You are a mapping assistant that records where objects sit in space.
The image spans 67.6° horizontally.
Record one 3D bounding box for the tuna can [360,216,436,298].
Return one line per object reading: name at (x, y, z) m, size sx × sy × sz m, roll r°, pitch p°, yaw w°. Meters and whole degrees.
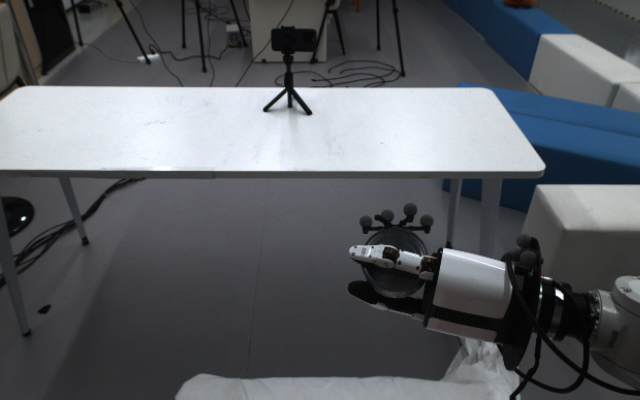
tuna can at (0.096, 0.078, 0.614) m, size 0.085 × 0.034 × 0.085 m, roll -6°, pitch 59°, yaw 11°
